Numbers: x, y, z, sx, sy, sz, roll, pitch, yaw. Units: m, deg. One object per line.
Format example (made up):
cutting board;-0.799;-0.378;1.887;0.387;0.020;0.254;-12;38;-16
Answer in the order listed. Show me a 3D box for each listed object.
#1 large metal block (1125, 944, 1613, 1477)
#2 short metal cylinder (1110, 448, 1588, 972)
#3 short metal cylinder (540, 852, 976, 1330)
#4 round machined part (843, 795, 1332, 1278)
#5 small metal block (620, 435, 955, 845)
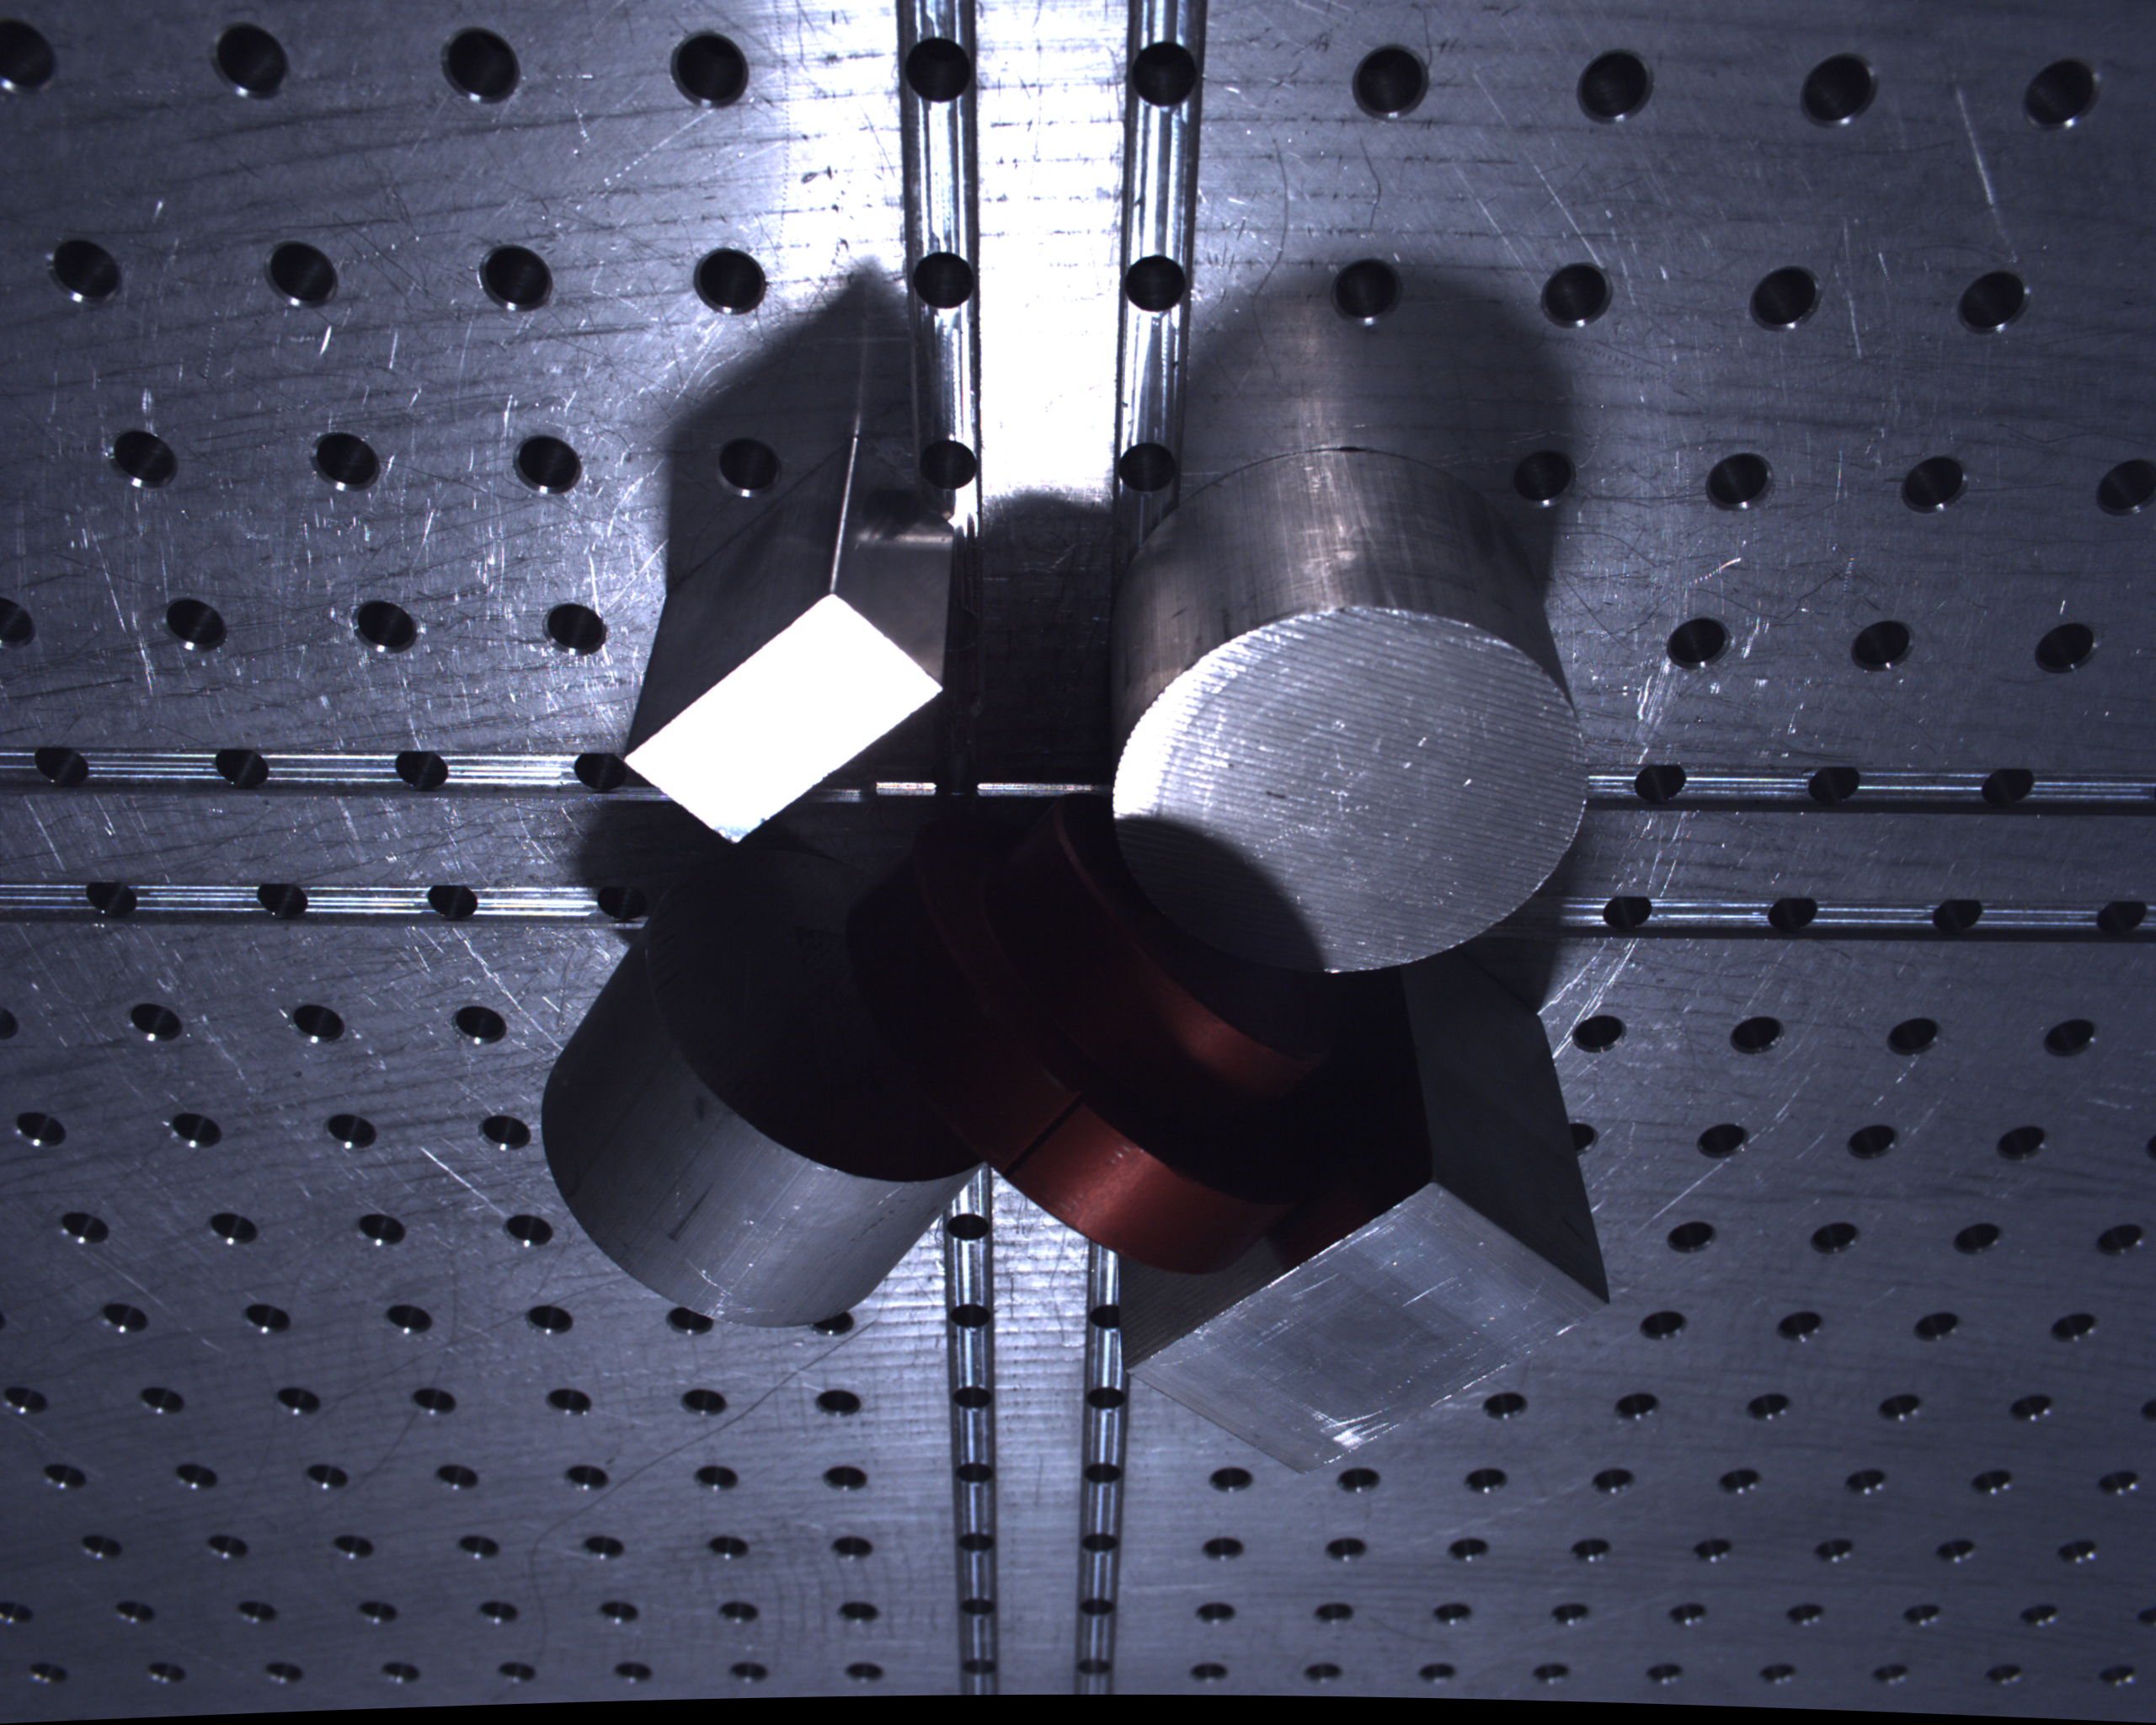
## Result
large metal block;0.056;0.067;0.434;0.050;0.080;0.080;36;121;-27
short metal cylinder;0.046;-0.026;0.373;0.081;0.050;0.079;0;130;0
short metal cylinder;-0.058;0.044;0.412;0.080;0.080;0.050;25;126;-20
round machined part;0.008;0.025;0.386;0.098;0.098;0.042;34;110;-26
small metal block;-0.049;-0.039;0.361;0.050;0.050;0.025;-34;122;25
